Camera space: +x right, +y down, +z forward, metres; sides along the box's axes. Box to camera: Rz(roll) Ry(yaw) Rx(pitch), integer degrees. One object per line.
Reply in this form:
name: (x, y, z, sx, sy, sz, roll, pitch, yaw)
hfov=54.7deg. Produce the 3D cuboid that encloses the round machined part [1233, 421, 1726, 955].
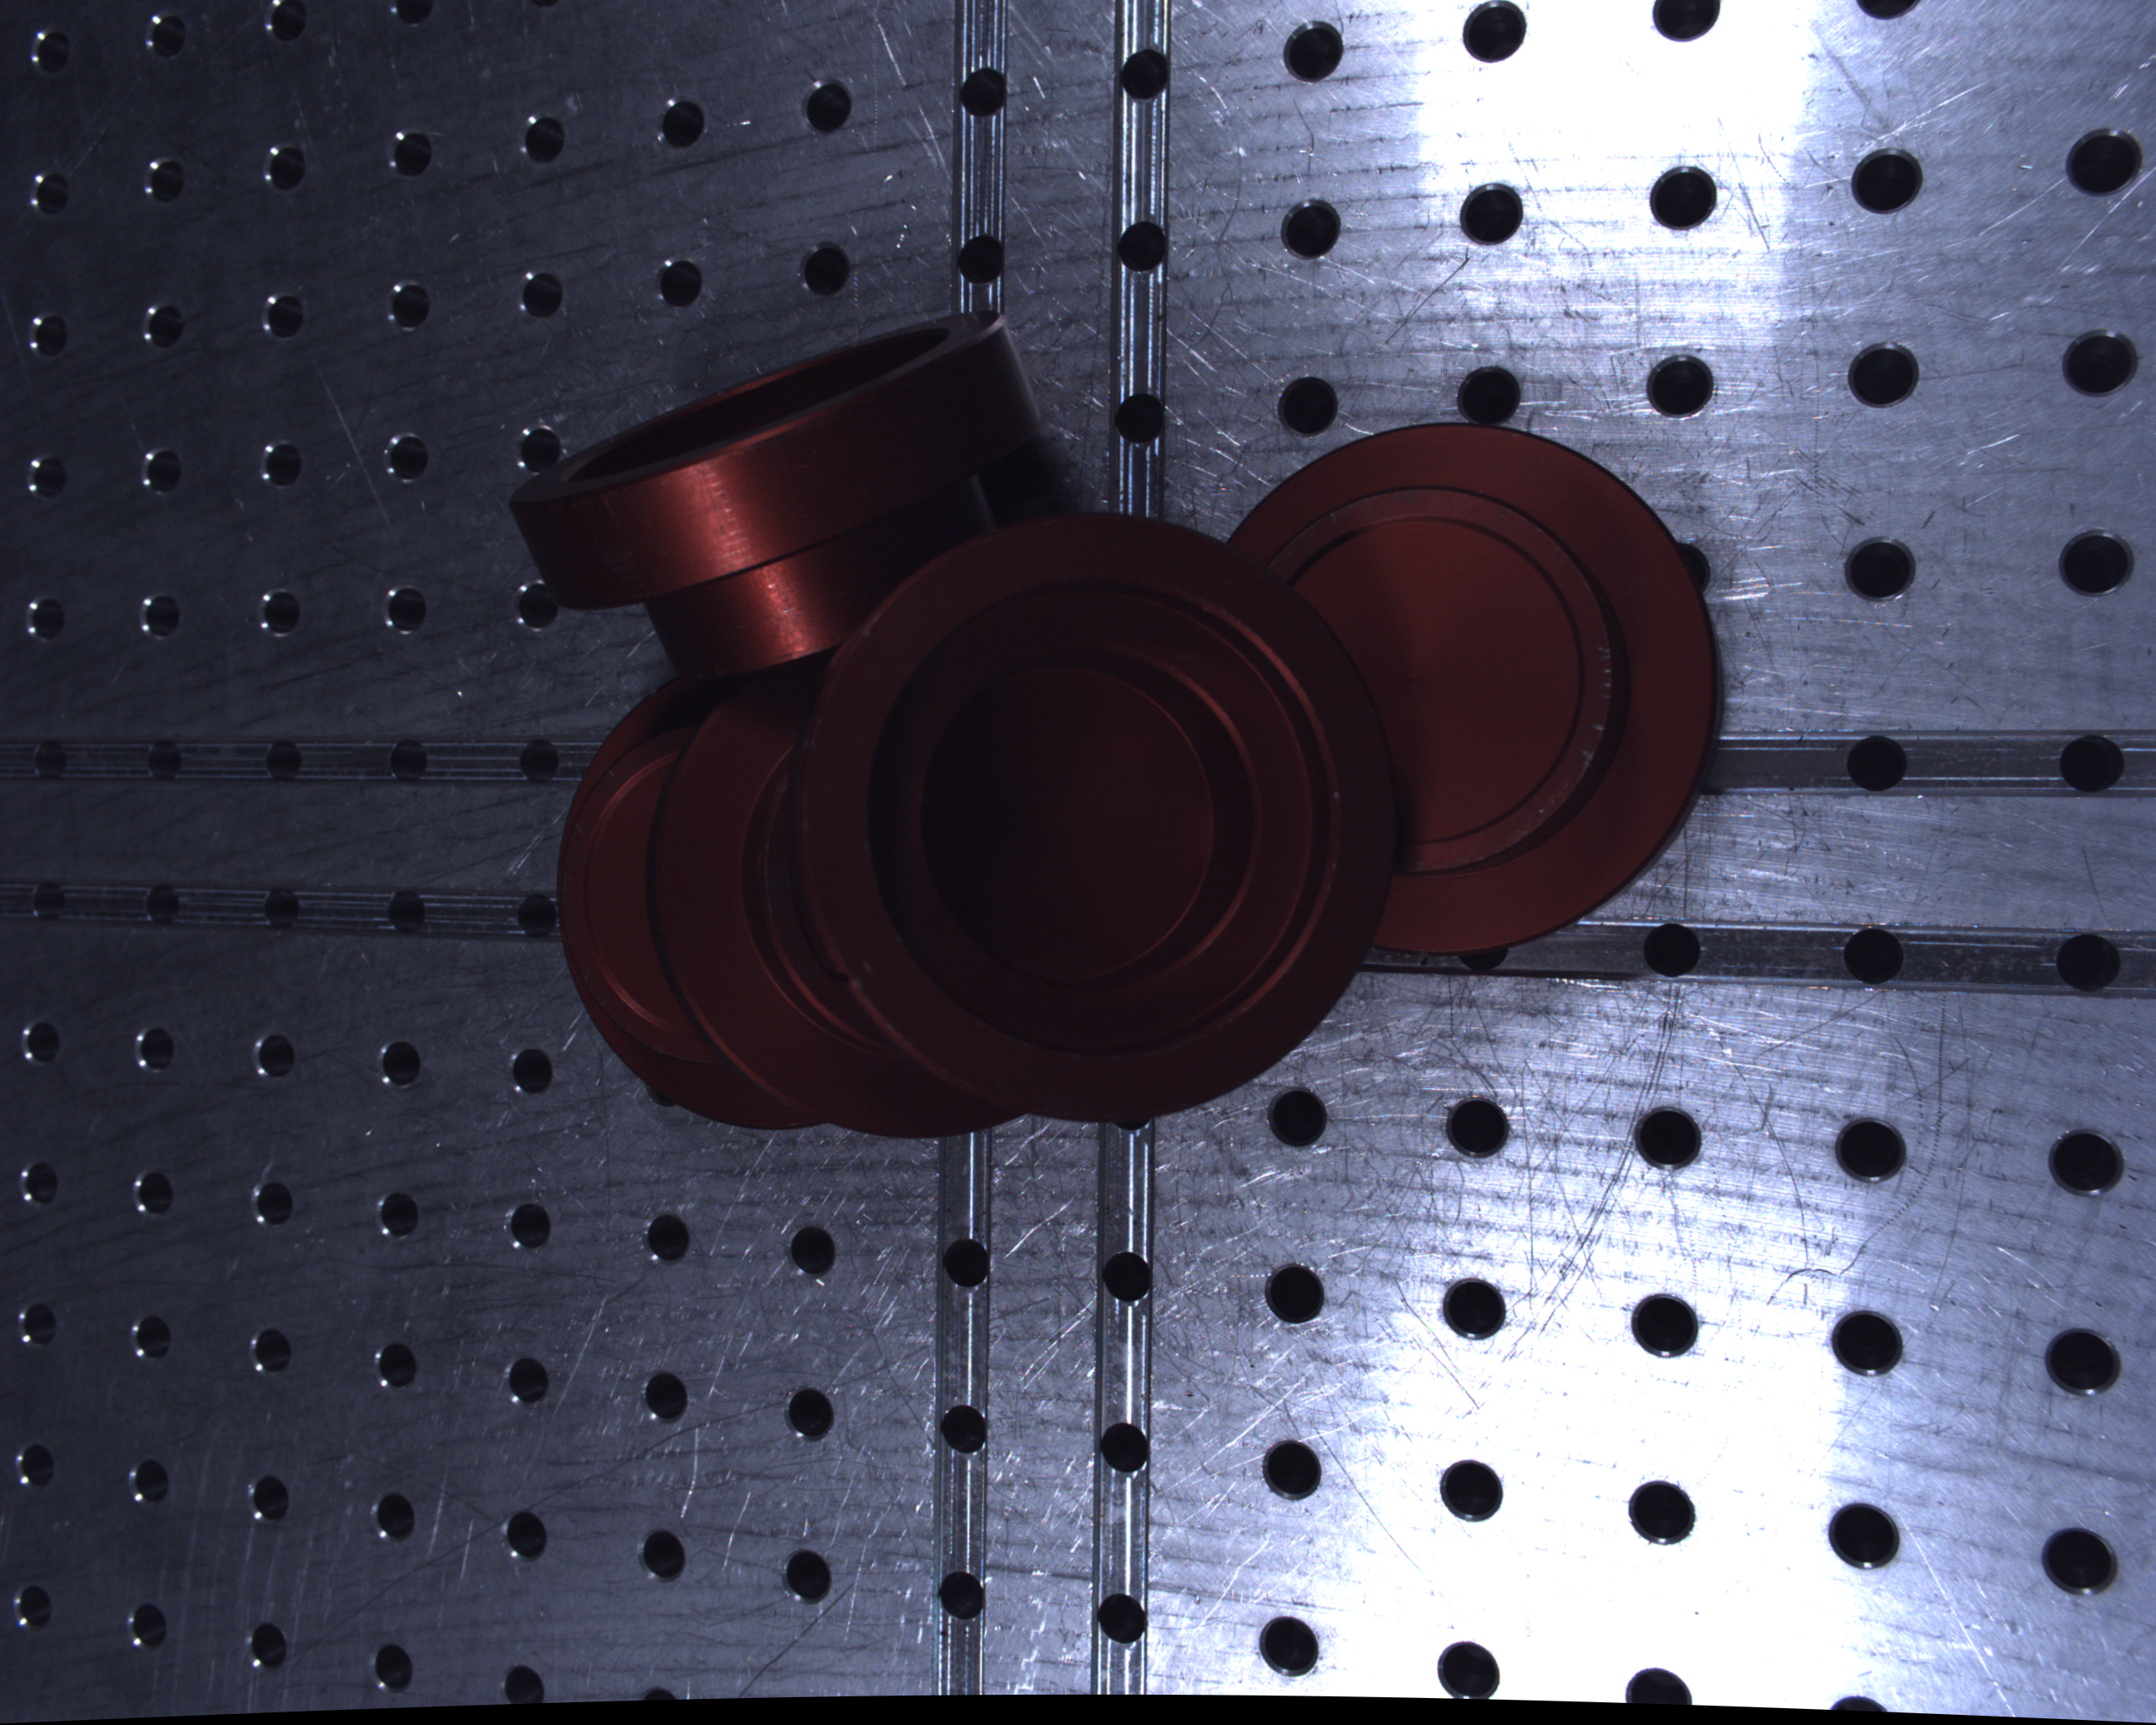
round machined part: (0.066, -0.032, 0.380, 0.098, 0.042, 0.097, 0, 90, 19)

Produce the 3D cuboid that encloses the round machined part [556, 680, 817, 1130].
round machined part: (-0.065, 0.006, 0.425, 0.098, 0.042, 0.097, 0, 90, 19)

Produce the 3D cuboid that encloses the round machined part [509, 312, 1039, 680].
round machined part: (-0.053, -0.068, 0.397, 0.098, 0.098, 0.042, -13, 111, 19)

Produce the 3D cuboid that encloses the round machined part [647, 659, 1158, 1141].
round machined part: (-0.028, 0.003, 0.387, 0.099, 0.042, 0.097, 1, 87, -17)

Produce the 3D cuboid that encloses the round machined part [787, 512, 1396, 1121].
round machined part: (0.000, -0.007, 0.352, 0.099, 0.042, 0.097, 0, 89, -14)
